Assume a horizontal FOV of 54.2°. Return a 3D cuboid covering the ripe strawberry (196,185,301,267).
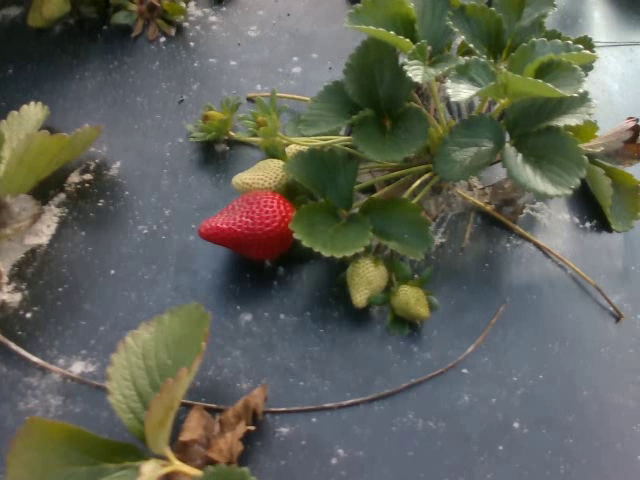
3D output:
[{"bbox_3d":[-0.048,-0.010,0.345,0.055,0.048,0.051,-3,7,-35],"label":"ripe strawberry"}]
